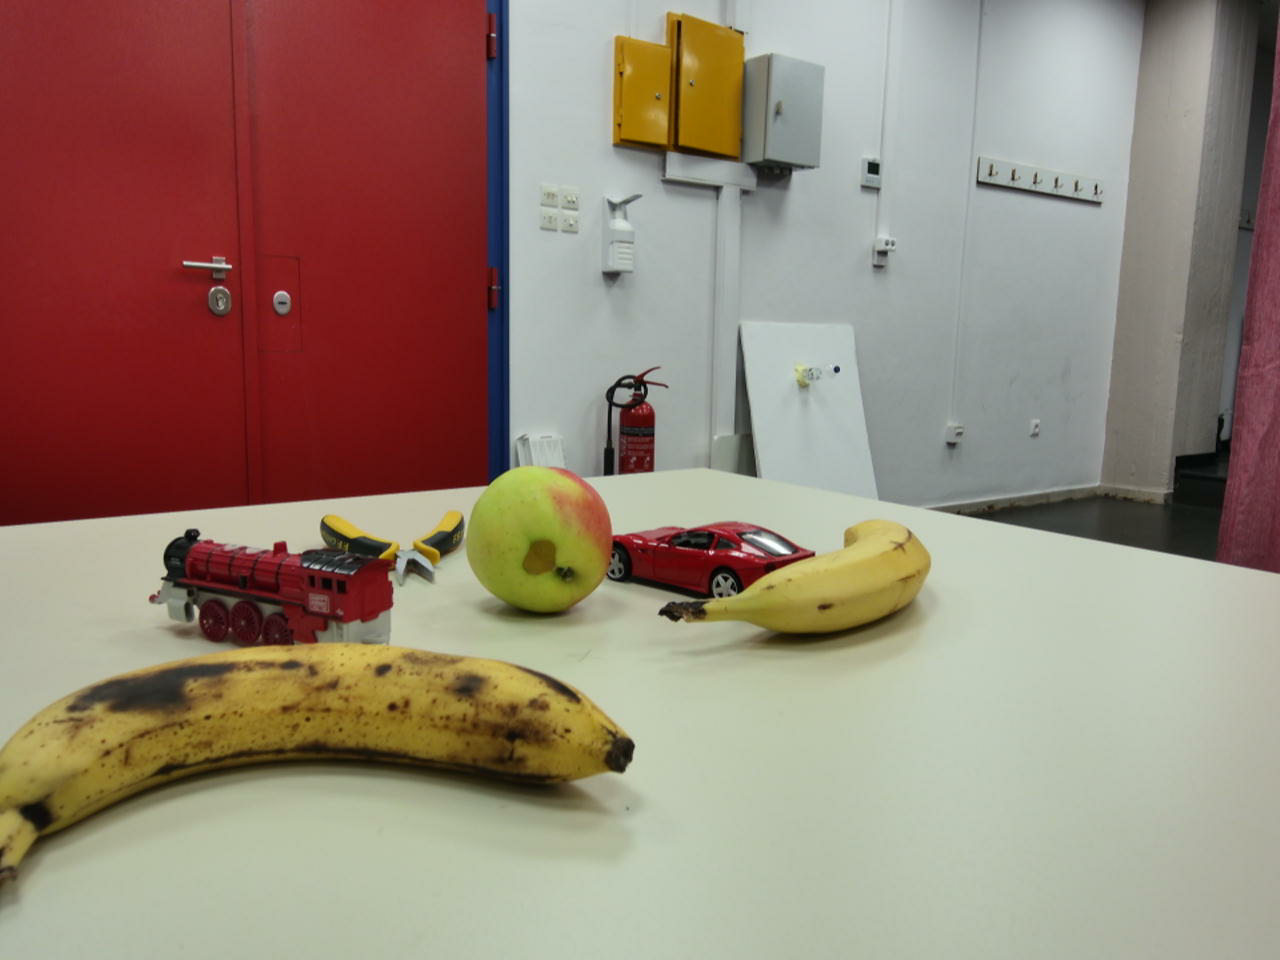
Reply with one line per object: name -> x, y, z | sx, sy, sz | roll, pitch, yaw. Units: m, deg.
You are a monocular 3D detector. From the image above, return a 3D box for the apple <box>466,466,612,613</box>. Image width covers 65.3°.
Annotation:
apple -> -0.050, 0.030, 0.518 | 0.075, 0.074, 0.075 | 5, 8, 33
